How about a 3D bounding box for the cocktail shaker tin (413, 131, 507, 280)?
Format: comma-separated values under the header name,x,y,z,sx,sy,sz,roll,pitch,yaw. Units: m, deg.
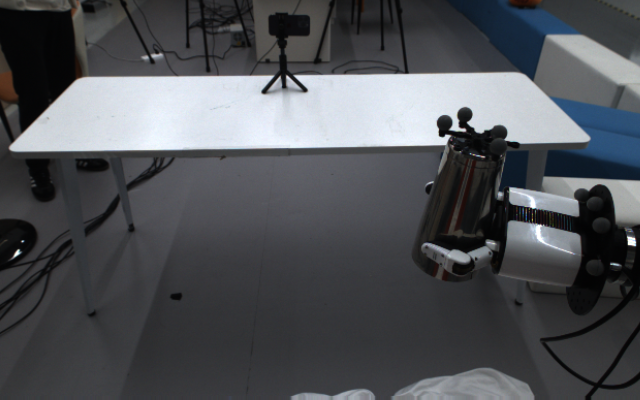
name,x,y,z,sx,sy,sz,roll,pitch,yaw
cocktail shaker tin,0.175,0.007,0.599,0.093,0.170,0.093,3,35,-2
